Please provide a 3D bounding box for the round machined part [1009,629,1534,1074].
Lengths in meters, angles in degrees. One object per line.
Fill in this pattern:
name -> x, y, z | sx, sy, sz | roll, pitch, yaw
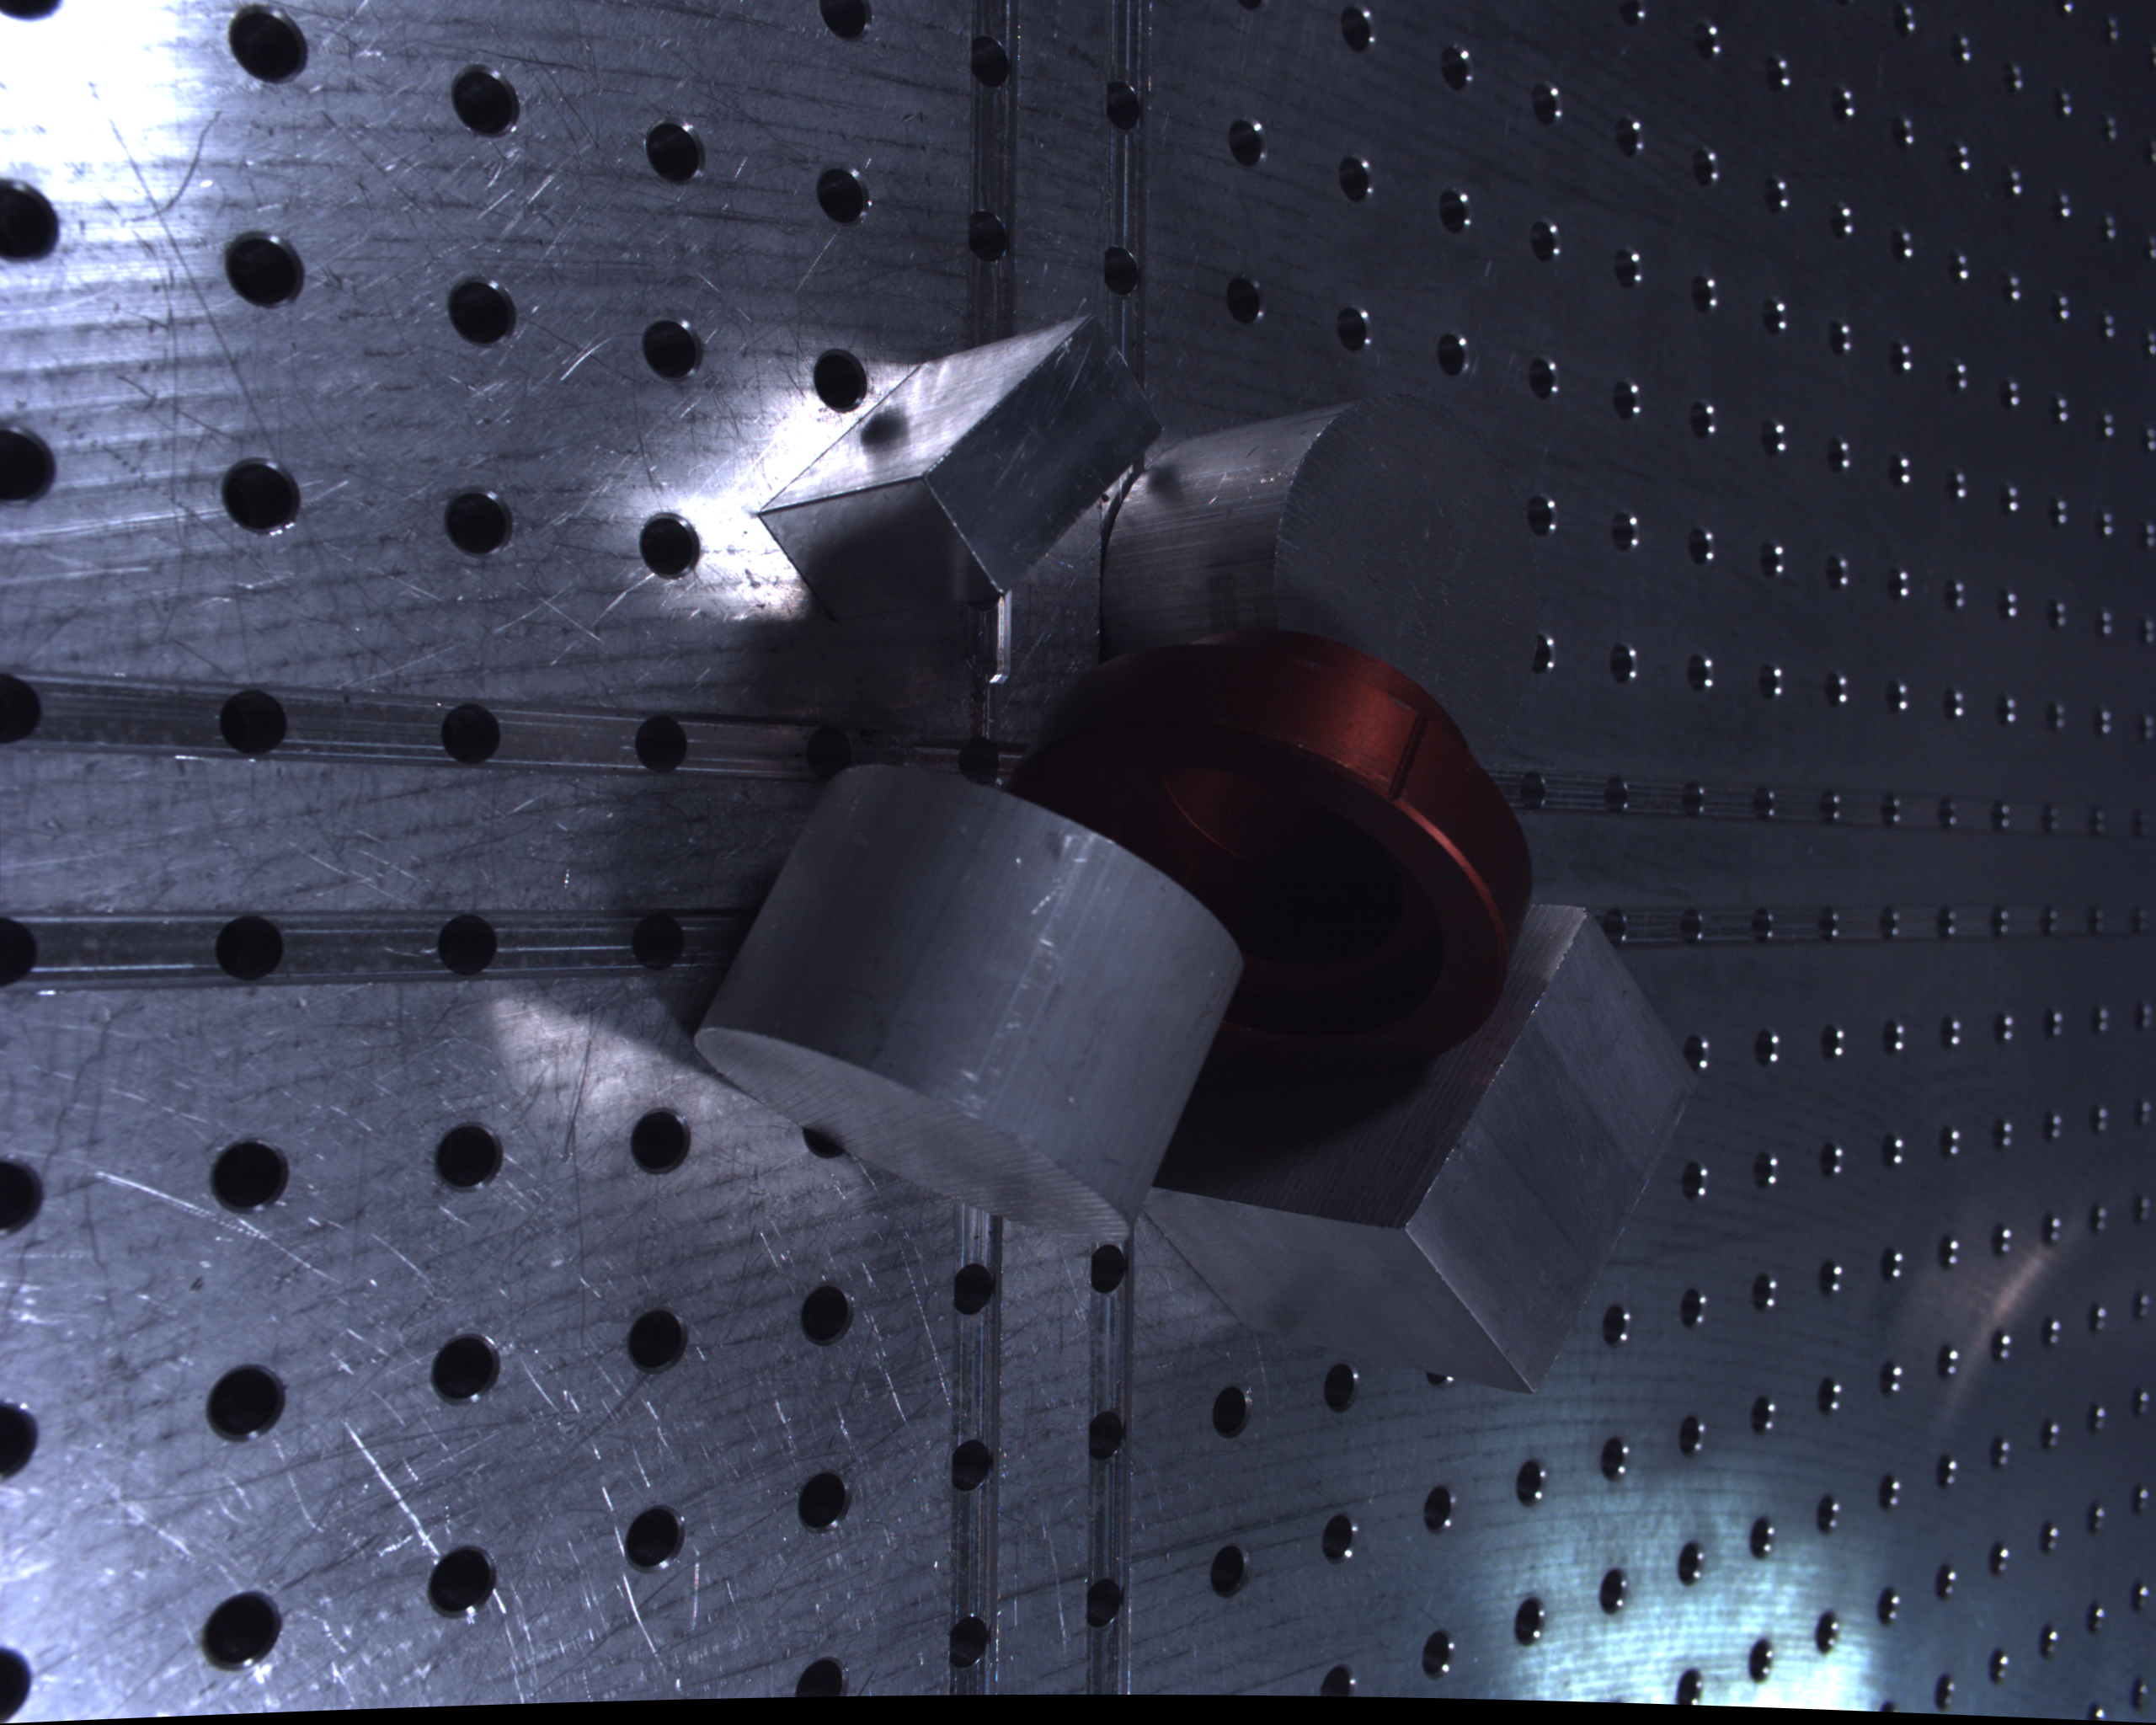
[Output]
round machined part -> 0.038, -0.006, 0.396 | 0.098, 0.098, 0.042 | 49, 49, -30

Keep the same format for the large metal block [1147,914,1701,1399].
large metal block -> 0.068, 0.056, 0.434 | 0.050, 0.080, 0.080 | 51, 60, -28

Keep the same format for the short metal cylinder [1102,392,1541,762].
short metal cylinder -> 0.052, -0.054, 0.438 | 0.081, 0.050, 0.079 | 0, 90, -40

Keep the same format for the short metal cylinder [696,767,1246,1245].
short metal cylinder -> -0.018, 0.026, 0.360 | 0.080, 0.080, 0.050 | 38, 67, -34

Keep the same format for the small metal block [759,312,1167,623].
small metal block -> -0.021, -0.070, 0.377 | 0.050, 0.050, 0.025 | -50, 120, -29
